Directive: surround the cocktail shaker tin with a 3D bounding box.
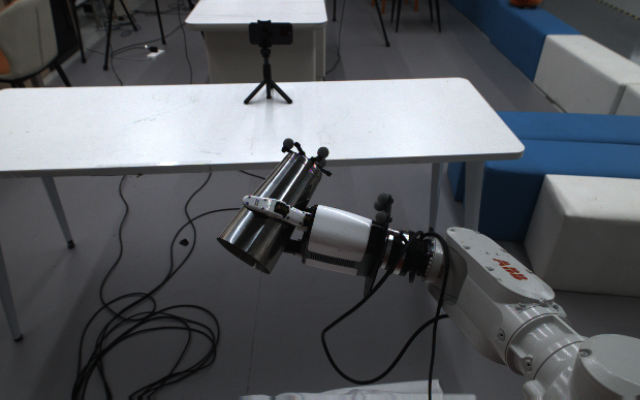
[{"bbox_3d":[-0.068,0.009,0.723,0.093,0.093,0.170,22,67,26],"label":"cocktail shaker tin"}]
